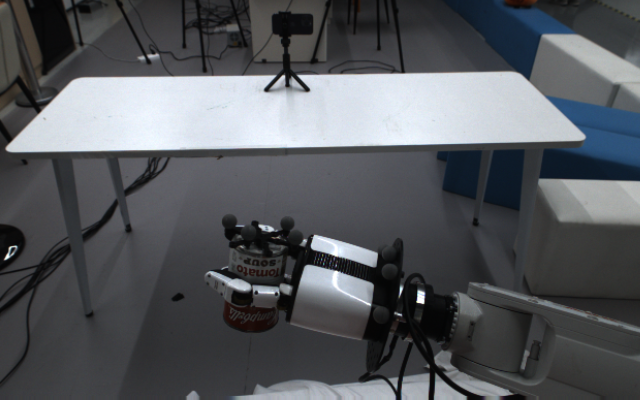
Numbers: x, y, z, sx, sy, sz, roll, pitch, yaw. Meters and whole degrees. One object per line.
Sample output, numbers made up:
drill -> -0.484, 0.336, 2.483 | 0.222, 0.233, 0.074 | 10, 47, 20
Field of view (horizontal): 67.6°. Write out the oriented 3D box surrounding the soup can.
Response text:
soup can -> -0.075, 0.095, 0.570 | 0.067, 0.101, 0.067 | 8, 19, -3
